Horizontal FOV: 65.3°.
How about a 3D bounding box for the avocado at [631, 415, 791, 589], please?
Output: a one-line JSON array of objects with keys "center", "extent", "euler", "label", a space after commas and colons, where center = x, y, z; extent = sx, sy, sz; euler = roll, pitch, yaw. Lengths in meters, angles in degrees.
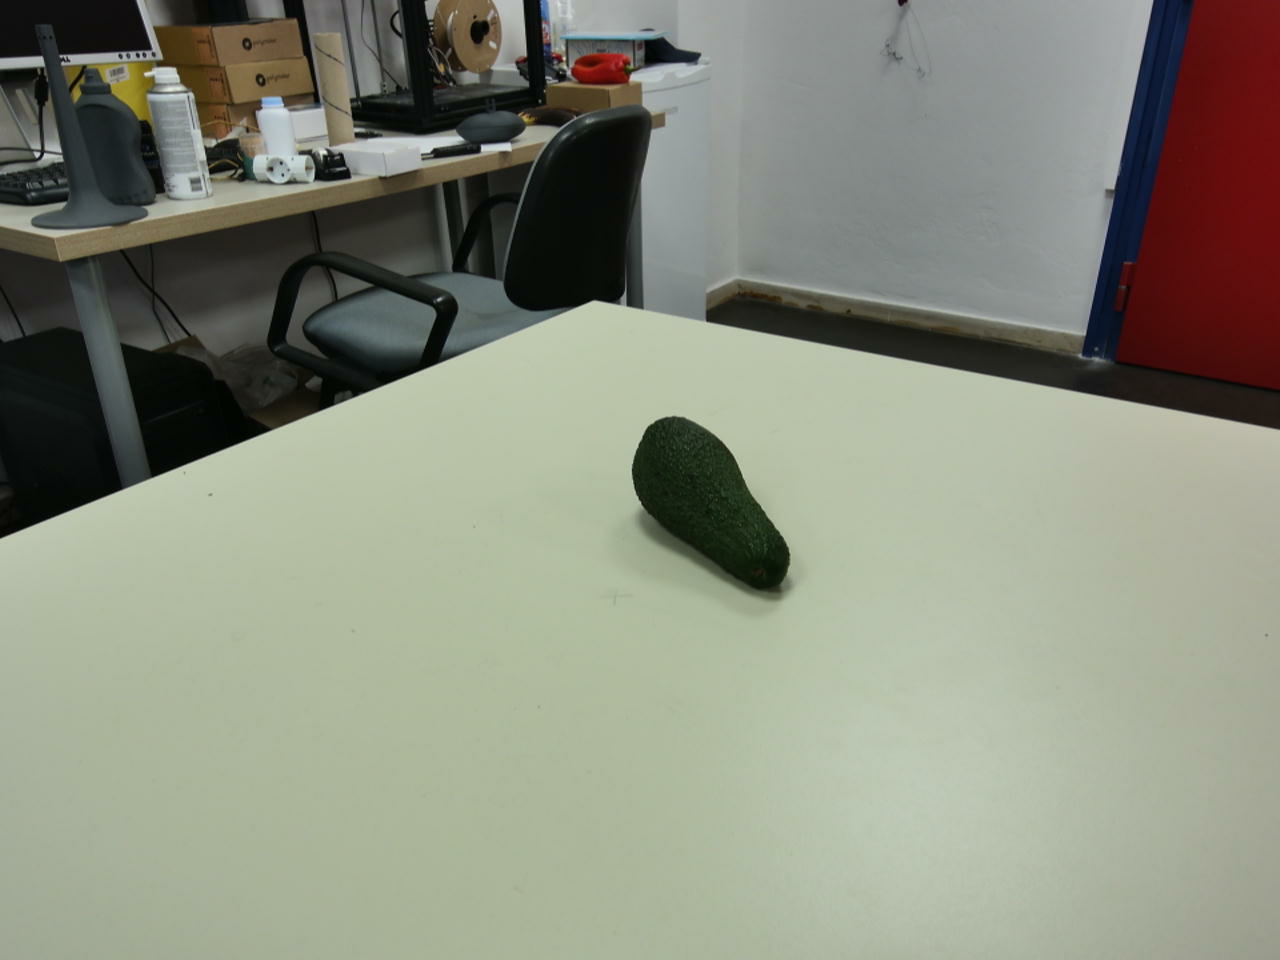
[{"center": [0.046, 0.007, 0.590], "extent": [0.063, 0.067, 0.141], "euler": [-19, 31, -34], "label": "avocado"}]
